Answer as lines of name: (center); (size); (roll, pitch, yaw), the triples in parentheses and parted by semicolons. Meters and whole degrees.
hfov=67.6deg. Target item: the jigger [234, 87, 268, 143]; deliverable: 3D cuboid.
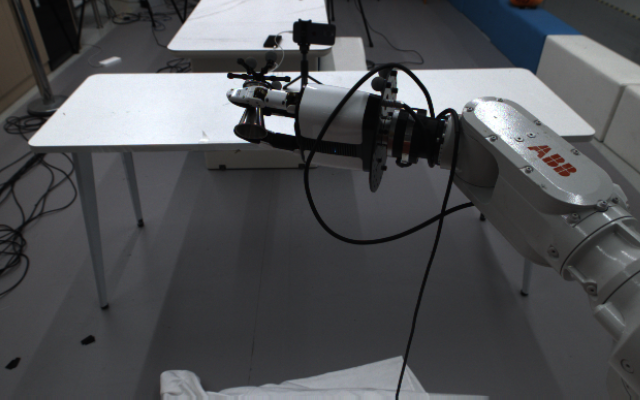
jigger: (-0.091, -0.123, 0.662); (0.043, 0.043, 0.071); (4, 71, 3)
